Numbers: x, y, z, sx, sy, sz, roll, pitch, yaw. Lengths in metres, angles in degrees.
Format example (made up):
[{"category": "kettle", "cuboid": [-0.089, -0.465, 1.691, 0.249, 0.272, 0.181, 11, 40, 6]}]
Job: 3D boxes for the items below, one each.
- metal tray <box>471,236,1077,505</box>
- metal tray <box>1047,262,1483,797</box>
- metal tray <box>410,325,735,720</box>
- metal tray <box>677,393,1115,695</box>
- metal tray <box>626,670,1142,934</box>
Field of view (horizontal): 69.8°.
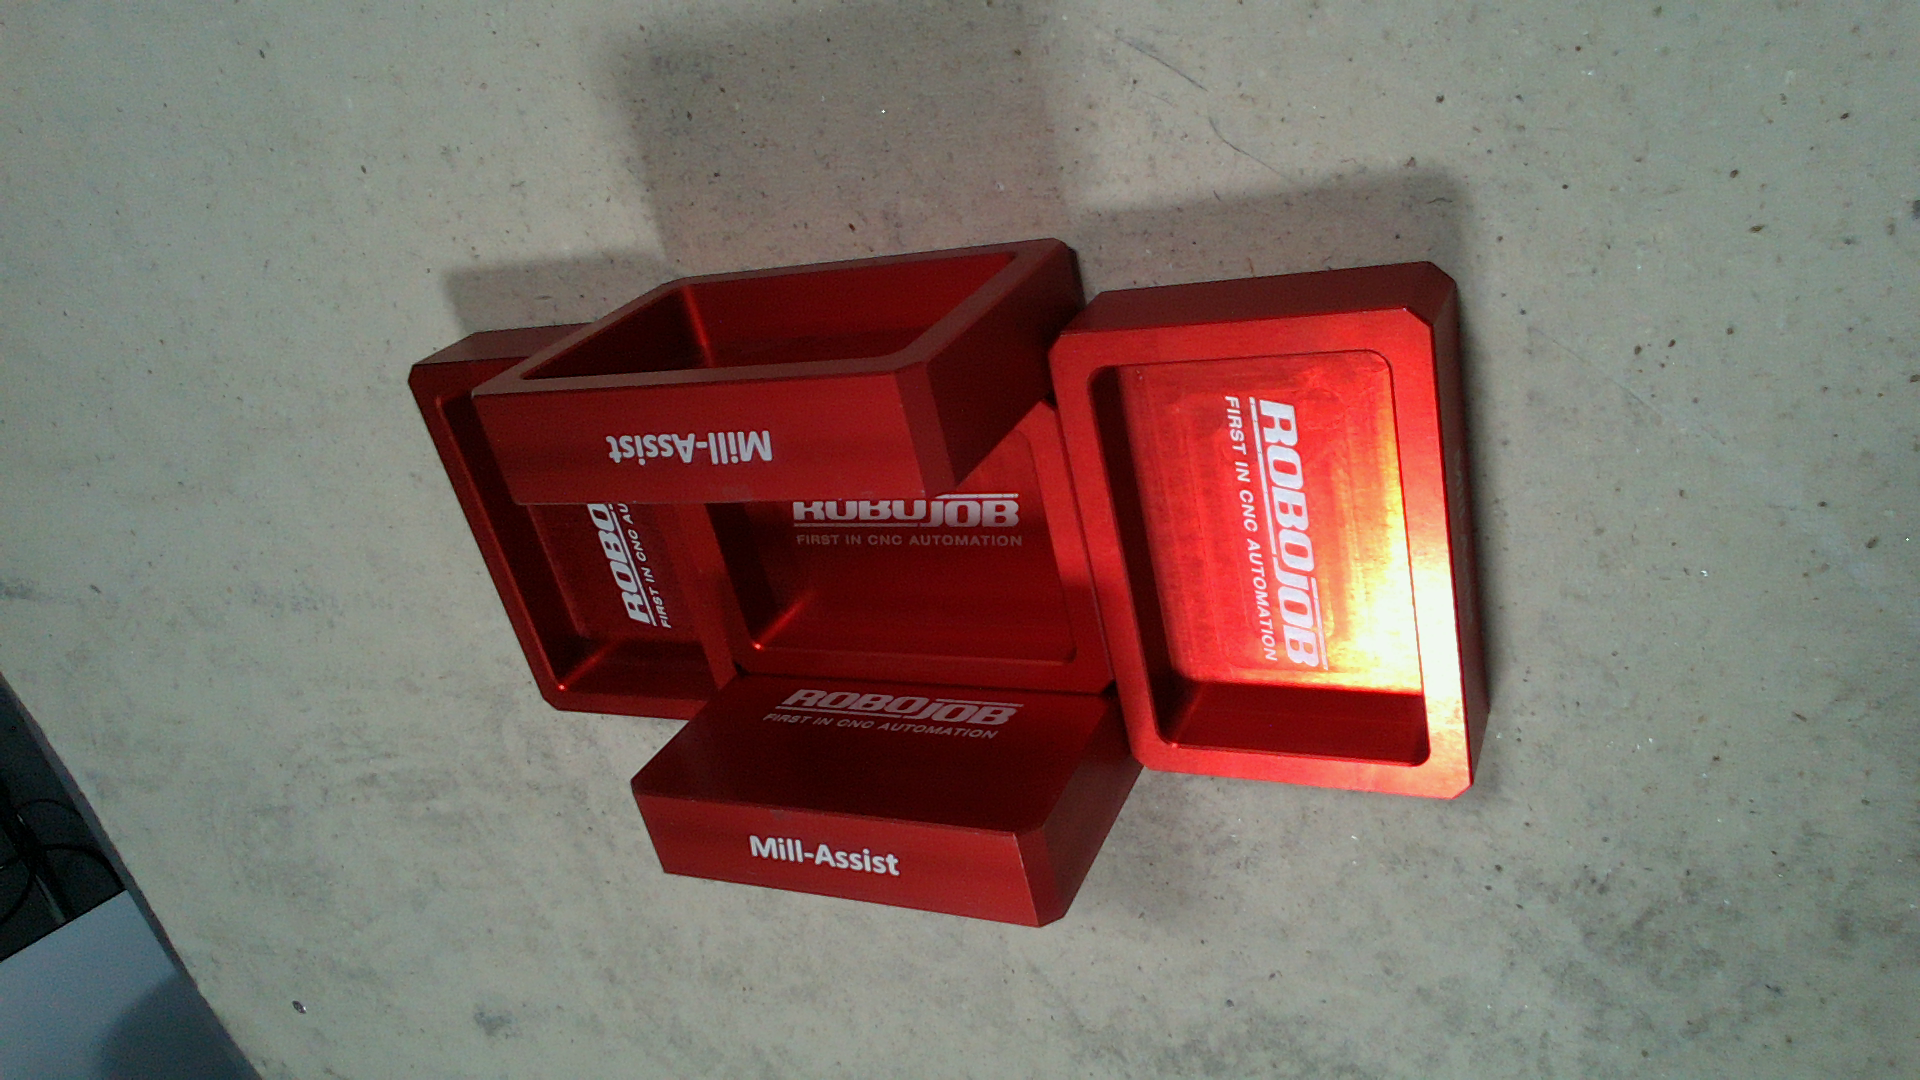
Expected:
[{"category": "metal tray", "cuboid": [-0.045, -0.043, 0.348, 0.130, 0.090, 0.030, 0, 119, 28]}, {"category": "metal tray", "cuboid": [0.080, 0.000, 0.347, 0.090, 0.030, 0.130, 0, 119, 28]}, {"category": "metal tray", "cuboid": [-0.115, -0.004, 0.449, 0.090, 0.030, 0.130, 0, 119, 28]}, {"category": "metal tray", "cuboid": [-0.019, -0.004, 0.397, 0.130, 0.030, 0.090, 1, 119, 28]}, {"category": "metal tray", "cuboid": [-0.018, 0.064, 0.398, 0.130, 0.090, 0.030, 0, 119, 28]}]
